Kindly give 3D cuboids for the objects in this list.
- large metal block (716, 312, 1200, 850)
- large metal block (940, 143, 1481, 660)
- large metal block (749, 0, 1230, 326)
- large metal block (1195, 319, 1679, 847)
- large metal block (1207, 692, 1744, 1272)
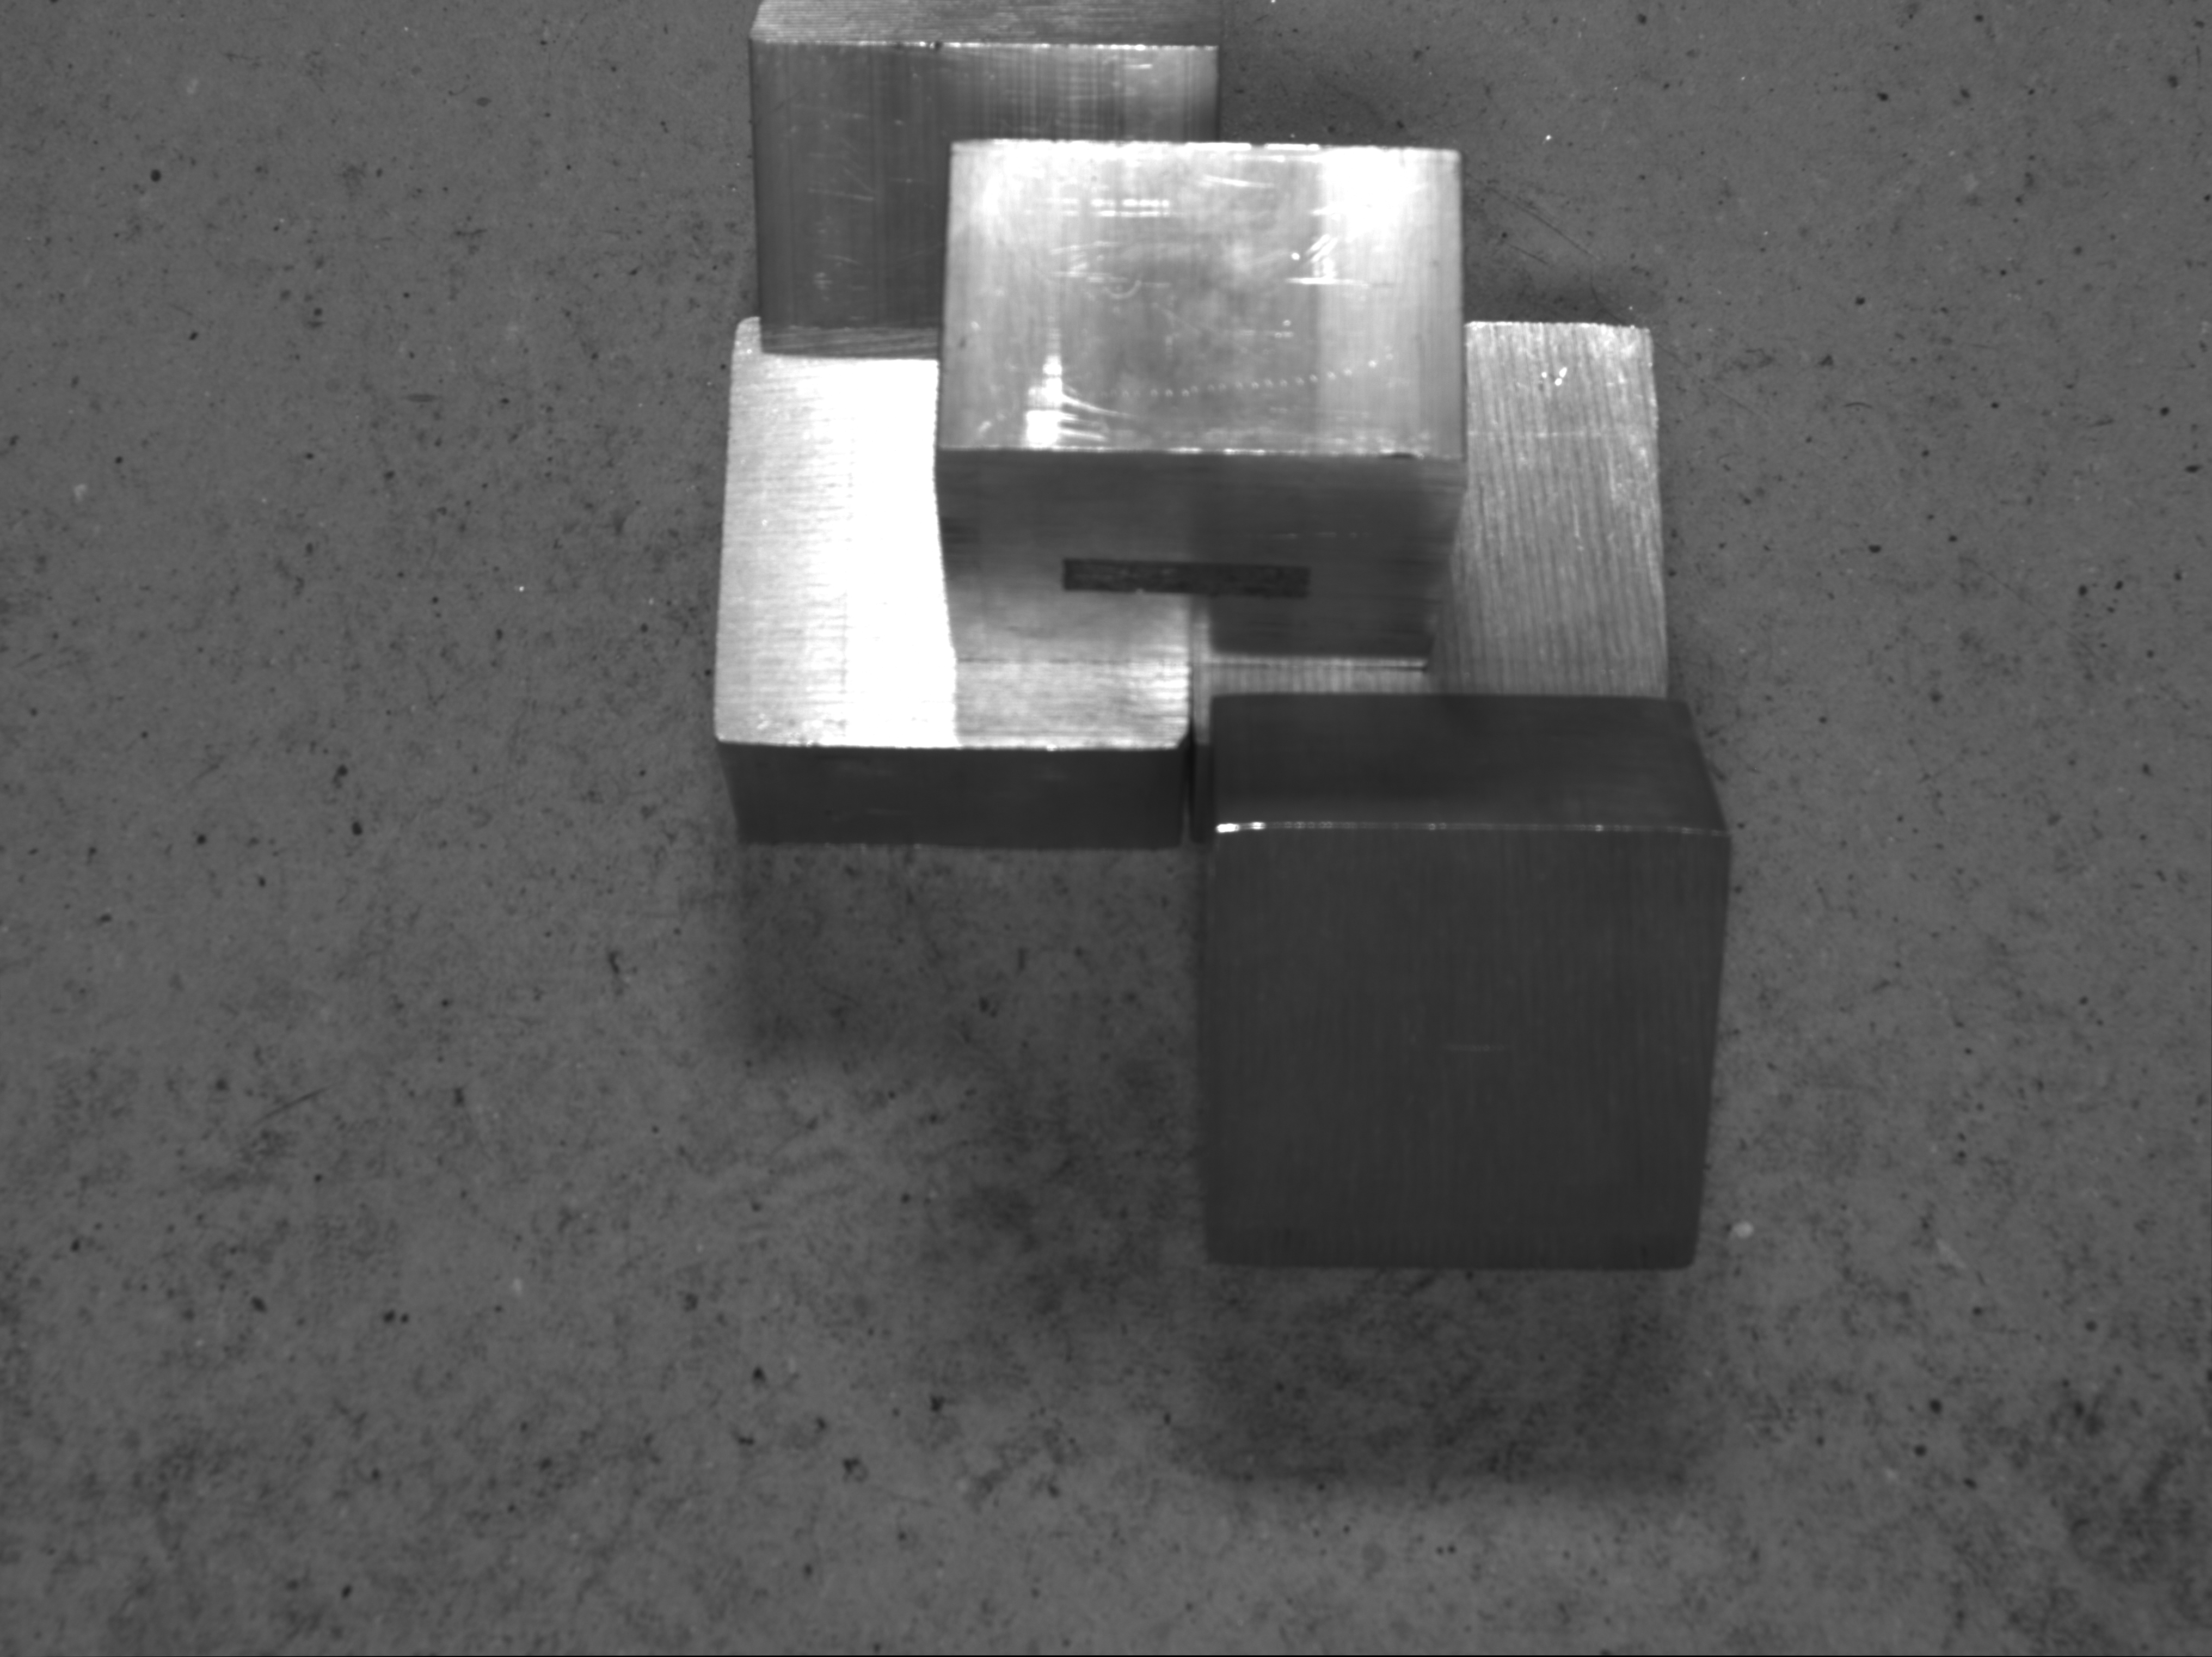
[{"bbox_3d":[-0.024,-0.043,0.646,0.080,0.050,0.080,1,70,0],"label":"large metal block"},{"bbox_3d":[0.016,-0.066,0.587,0.080,0.080,0.050,1,70,1],"label":"large metal block"},{"bbox_3d":[-0.019,-0.126,0.656,0.080,0.050,0.080,0,26,1],"label":"large metal block"},{"bbox_3d":[0.056,-0.043,0.646,0.080,0.050,0.080,1,70,0],"label":"large metal block"},{"bbox_3d":[0.058,0.025,0.600,0.080,0.080,0.050,1,26,0],"label":"large metal block"}]
